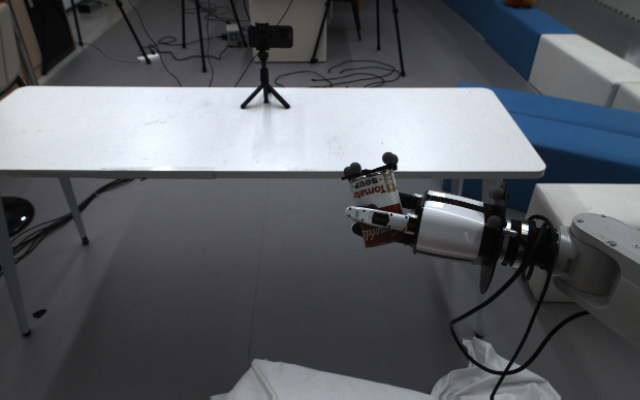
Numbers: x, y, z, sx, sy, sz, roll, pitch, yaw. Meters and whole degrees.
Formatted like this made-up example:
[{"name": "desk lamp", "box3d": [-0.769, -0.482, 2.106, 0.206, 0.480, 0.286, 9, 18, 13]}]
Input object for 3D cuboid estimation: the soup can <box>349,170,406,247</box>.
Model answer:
[{"name": "soup can", "box3d": [0.087, 0.013, 0.711, 0.067, 0.101, 0.067, -14, -2, -1]}]
